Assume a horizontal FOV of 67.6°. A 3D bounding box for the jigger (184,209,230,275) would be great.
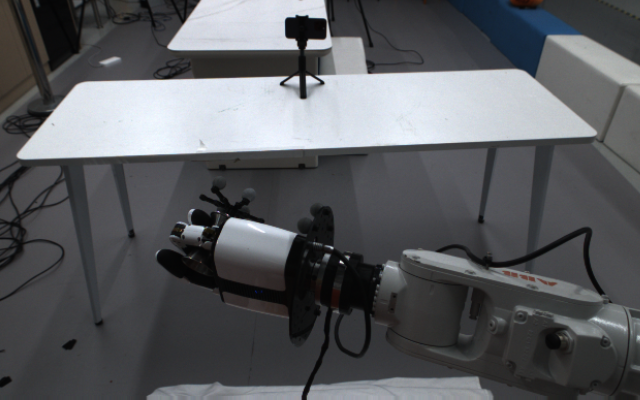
[{"bbox_3d":[-0.128,0.050,0.578,0.043,0.043,0.071,15,58,18],"label":"jigger"}]
